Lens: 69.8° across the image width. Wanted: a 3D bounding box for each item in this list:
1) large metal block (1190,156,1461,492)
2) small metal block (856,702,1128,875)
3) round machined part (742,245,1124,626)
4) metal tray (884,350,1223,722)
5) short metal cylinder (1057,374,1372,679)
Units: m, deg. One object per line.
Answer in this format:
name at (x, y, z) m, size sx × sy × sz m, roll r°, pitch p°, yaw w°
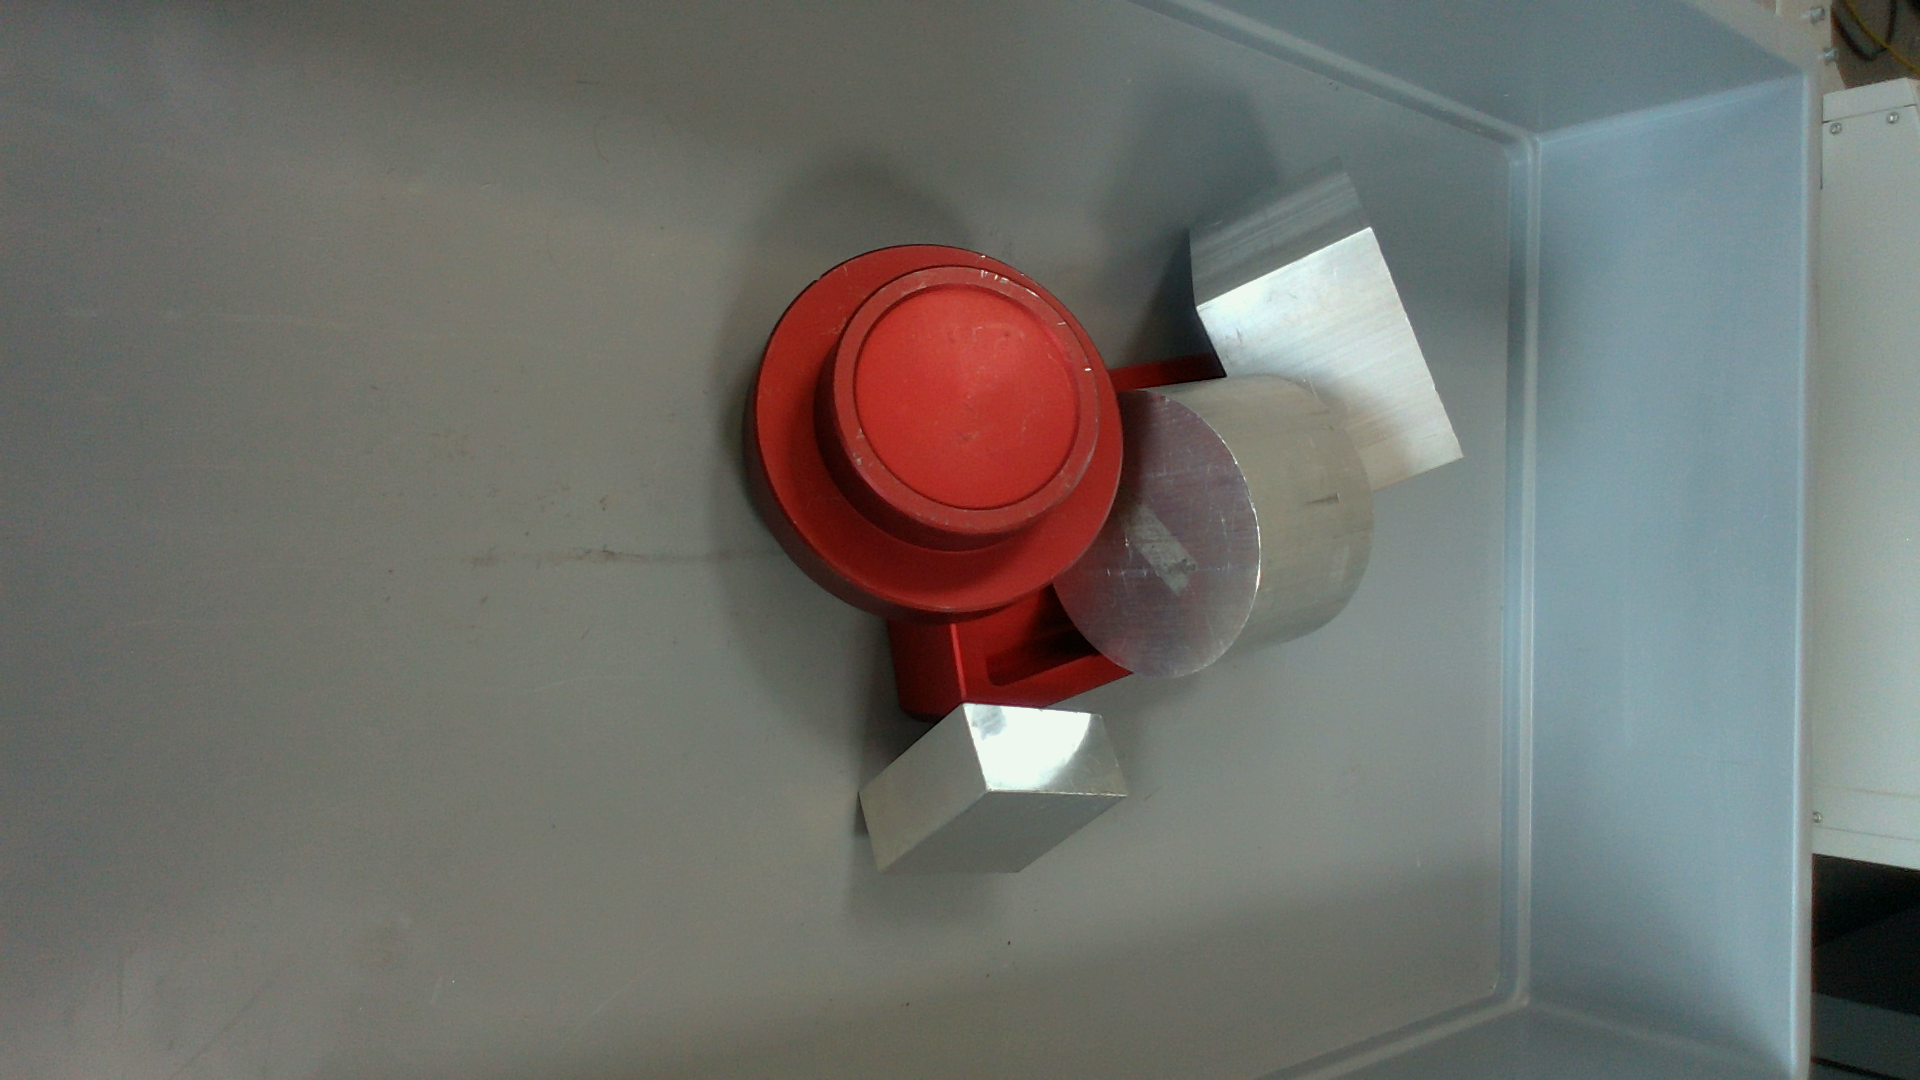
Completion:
large metal block at (0.115, -0.066, 0.441) m, size 0.080 × 0.050 × 0.080 m, roll 59°, pitch 20°, yaw -24°
small metal block at (0.008, 0.069, 0.375) m, size 0.050 × 0.050 × 0.025 m, roll 10°, pitch 49°, yaw -39°
round machined part at (-0.004, -0.030, 0.349) m, size 0.098 × 0.042 × 0.098 m, roll 4°, pitch 75°, yaw -15°
metal tray at (0.034, -0.004, 0.414) m, size 0.131 × 0.030 × 0.090 m, roll -15°, pitch 99°, yaw -39°
short metal cylinder at (0.068, -0.005, 0.392) m, size 0.050 × 0.080 × 0.080 m, roll -12°, pitch 98°, yaw -40°
